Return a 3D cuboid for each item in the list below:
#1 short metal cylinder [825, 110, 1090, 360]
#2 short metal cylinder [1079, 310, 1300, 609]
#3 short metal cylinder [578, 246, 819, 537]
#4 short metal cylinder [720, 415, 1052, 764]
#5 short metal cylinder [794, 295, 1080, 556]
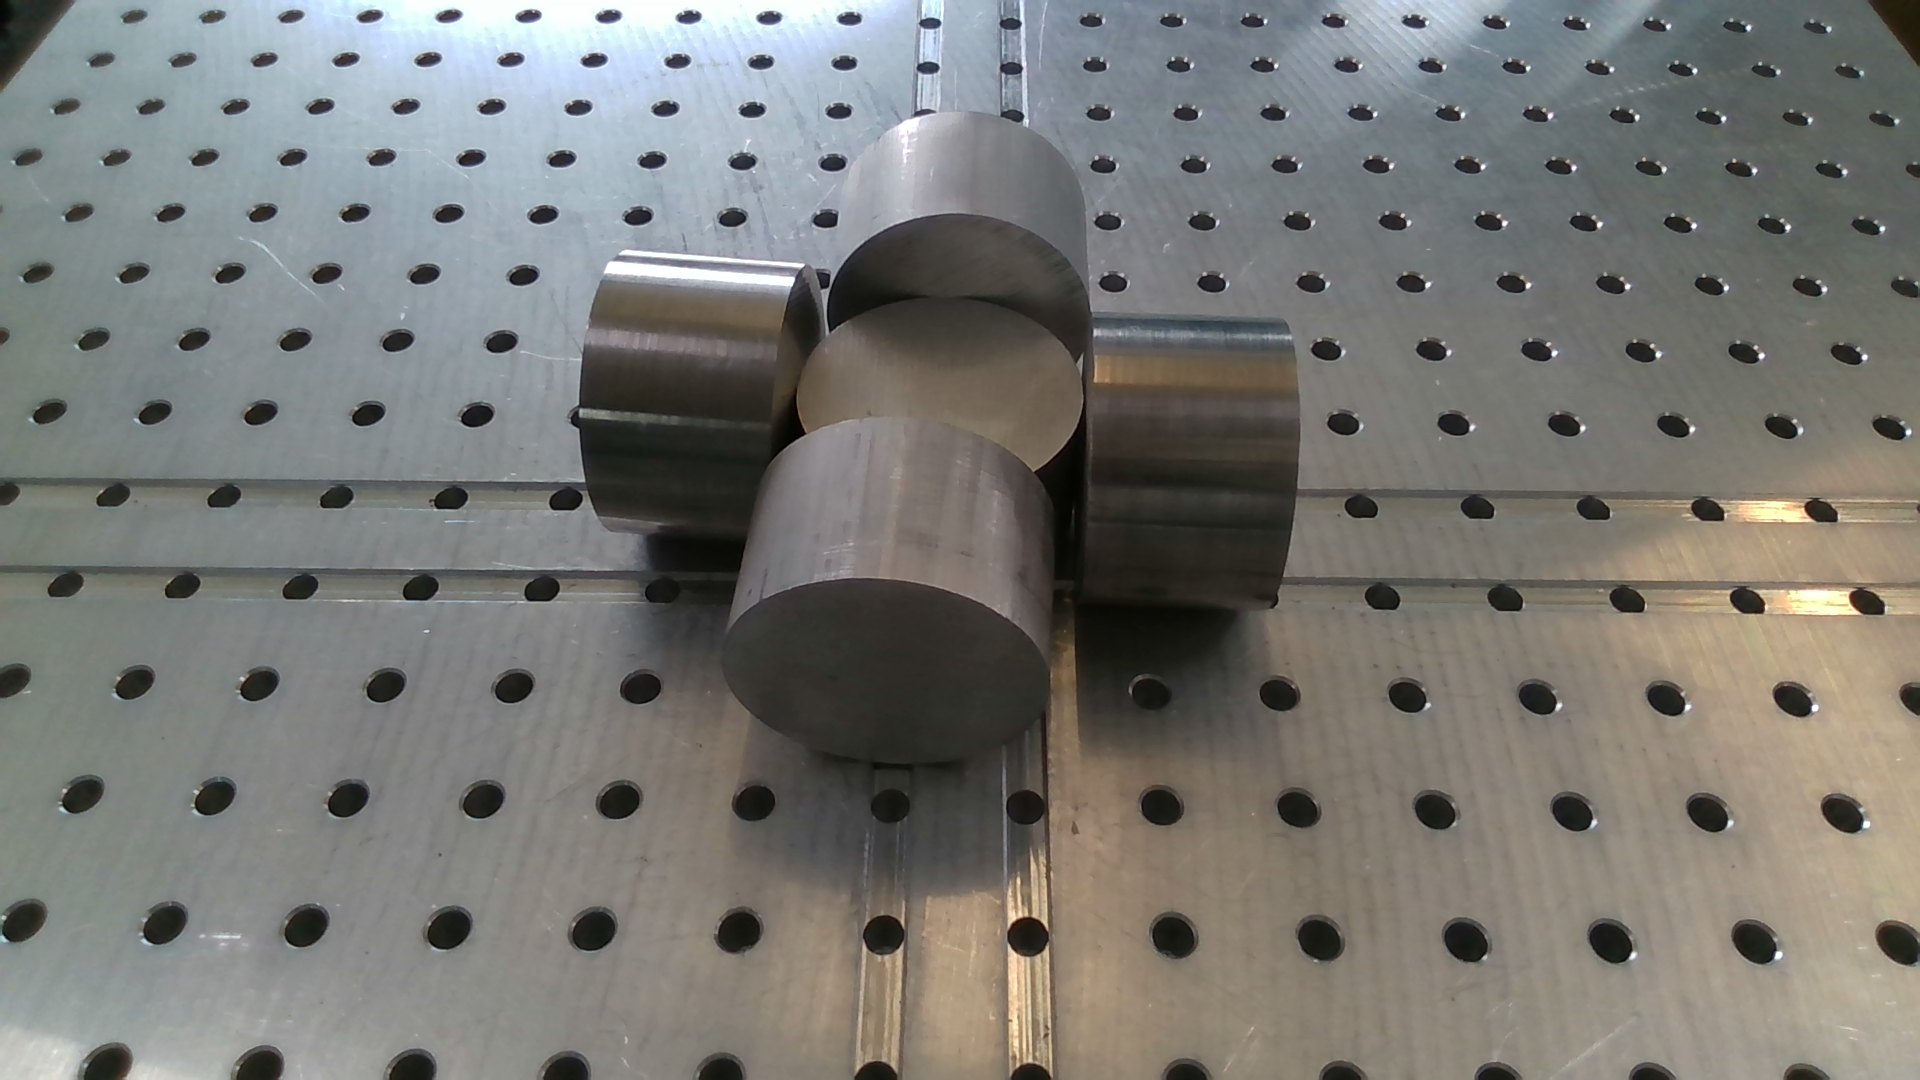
[{"bbox_3d":[0.000,-0.085,0.432,0.080,0.080,0.050,1,51,1],"label":"short metal cylinder"},{"bbox_3d":[0.059,-0.022,0.378,0.050,0.080,0.080,2,50,2],"label":"short metal cylinder"},{"bbox_3d":[-0.071,-0.041,0.394,0.050,0.080,0.080,5,50,4],"label":"short metal cylinder"},{"bbox_3d":[-0.017,0.015,0.349,0.080,0.080,0.050,3,51,2],"label":"short metal cylinder"},{"bbox_3d":[-0.006,-0.026,0.402,0.080,0.050,0.080,0,51,0],"label":"short metal cylinder"}]
